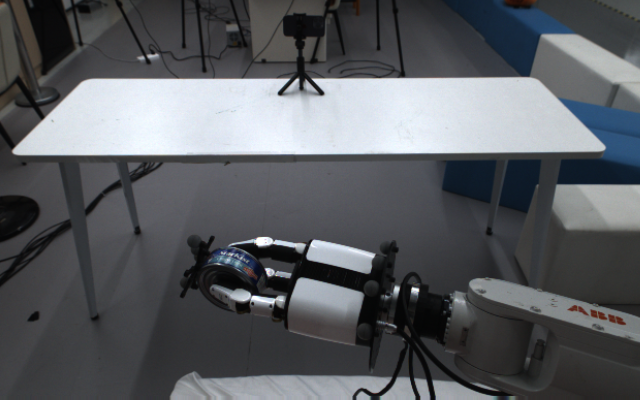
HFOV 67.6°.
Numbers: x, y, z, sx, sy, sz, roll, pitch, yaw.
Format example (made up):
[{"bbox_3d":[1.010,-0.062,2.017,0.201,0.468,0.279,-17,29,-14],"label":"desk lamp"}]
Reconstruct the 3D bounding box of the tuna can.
[{"bbox_3d":[-0.110,0.105,0.617,0.085,0.085,0.034,9,35,9],"label":"tuna can"}]
